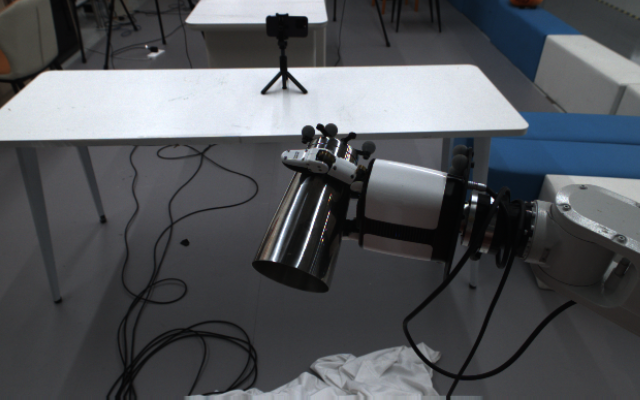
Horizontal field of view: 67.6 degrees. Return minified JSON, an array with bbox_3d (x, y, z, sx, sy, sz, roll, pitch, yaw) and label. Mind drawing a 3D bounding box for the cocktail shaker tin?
[{"bbox_3d":[-0.005,0.009,0.572,0.093,0.093,0.170,12,65,14],"label":"cocktail shaker tin"}]
